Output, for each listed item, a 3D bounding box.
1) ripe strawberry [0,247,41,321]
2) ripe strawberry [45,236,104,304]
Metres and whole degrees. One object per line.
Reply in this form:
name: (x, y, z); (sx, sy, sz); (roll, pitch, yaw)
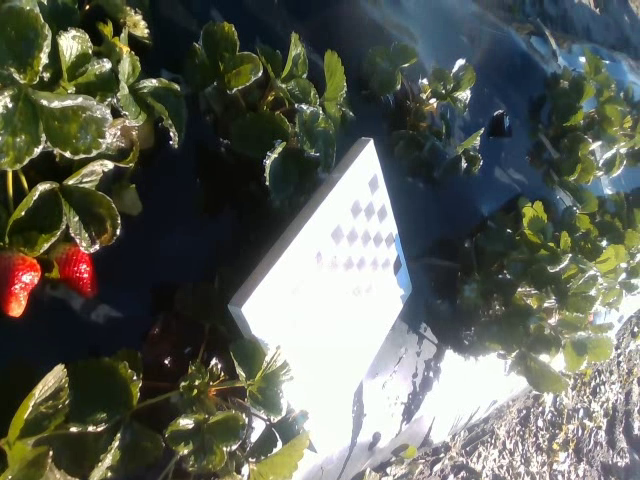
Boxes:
ripe strawberry: (-0.270, 0.042, 0.562); (0.040, 0.070, 0.052); (4, -2, 28)
ripe strawberry: (-0.230, 0.028, 0.596); (0.040, 0.059, 0.044); (8, 47, 39)
